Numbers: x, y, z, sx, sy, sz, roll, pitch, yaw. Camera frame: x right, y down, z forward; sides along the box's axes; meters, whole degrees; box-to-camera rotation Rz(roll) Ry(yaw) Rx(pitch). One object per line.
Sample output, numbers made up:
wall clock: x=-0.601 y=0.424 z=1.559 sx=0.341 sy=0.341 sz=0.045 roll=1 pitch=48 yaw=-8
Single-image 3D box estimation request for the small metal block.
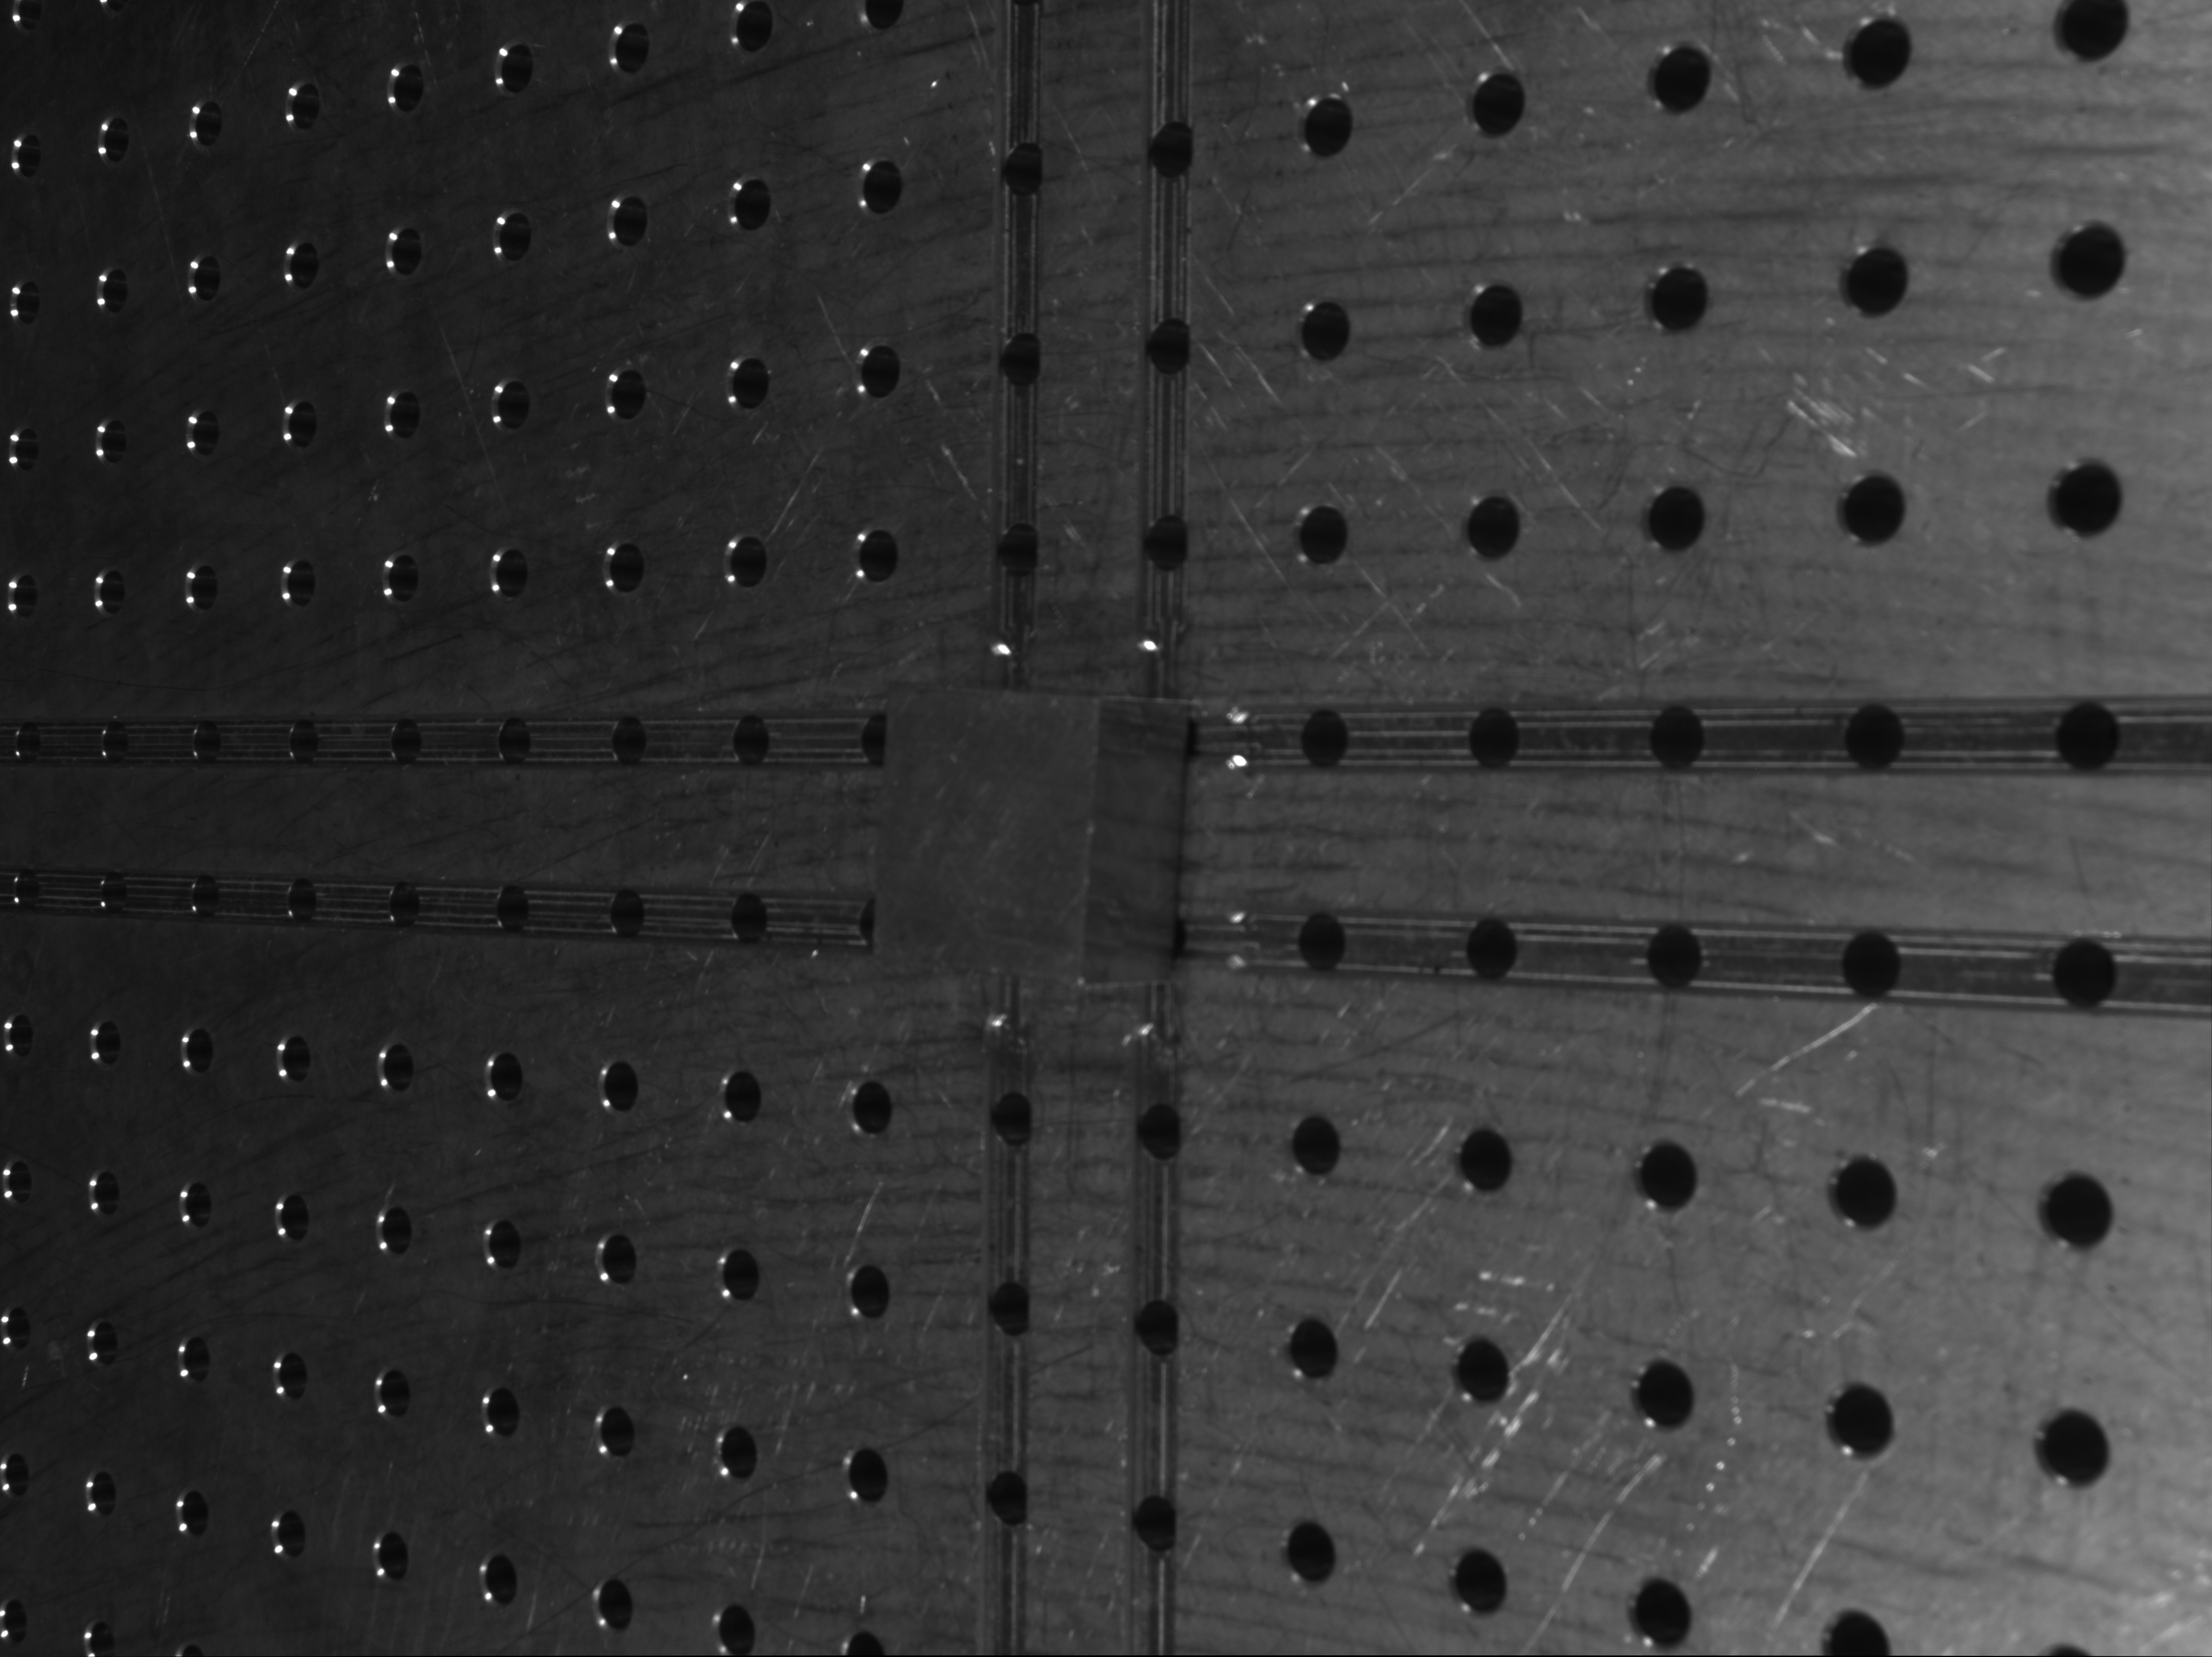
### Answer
small metal block: x=-0.018 y=0.001 z=0.654 sx=0.050 sy=0.025 sz=0.050 roll=6 pitch=94 yaw=39
